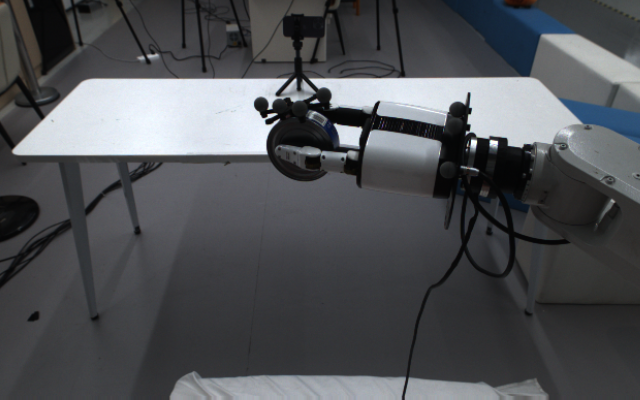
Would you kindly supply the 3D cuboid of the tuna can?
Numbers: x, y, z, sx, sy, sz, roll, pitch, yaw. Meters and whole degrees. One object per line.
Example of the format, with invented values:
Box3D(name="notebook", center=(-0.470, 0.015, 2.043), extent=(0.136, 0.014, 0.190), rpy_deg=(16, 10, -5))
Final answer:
Box3D(name="tuna can", center=(-0.017, -0.063, 0.593), extent=(0.085, 0.085, 0.034), rpy_deg=(10, 33, 11))
